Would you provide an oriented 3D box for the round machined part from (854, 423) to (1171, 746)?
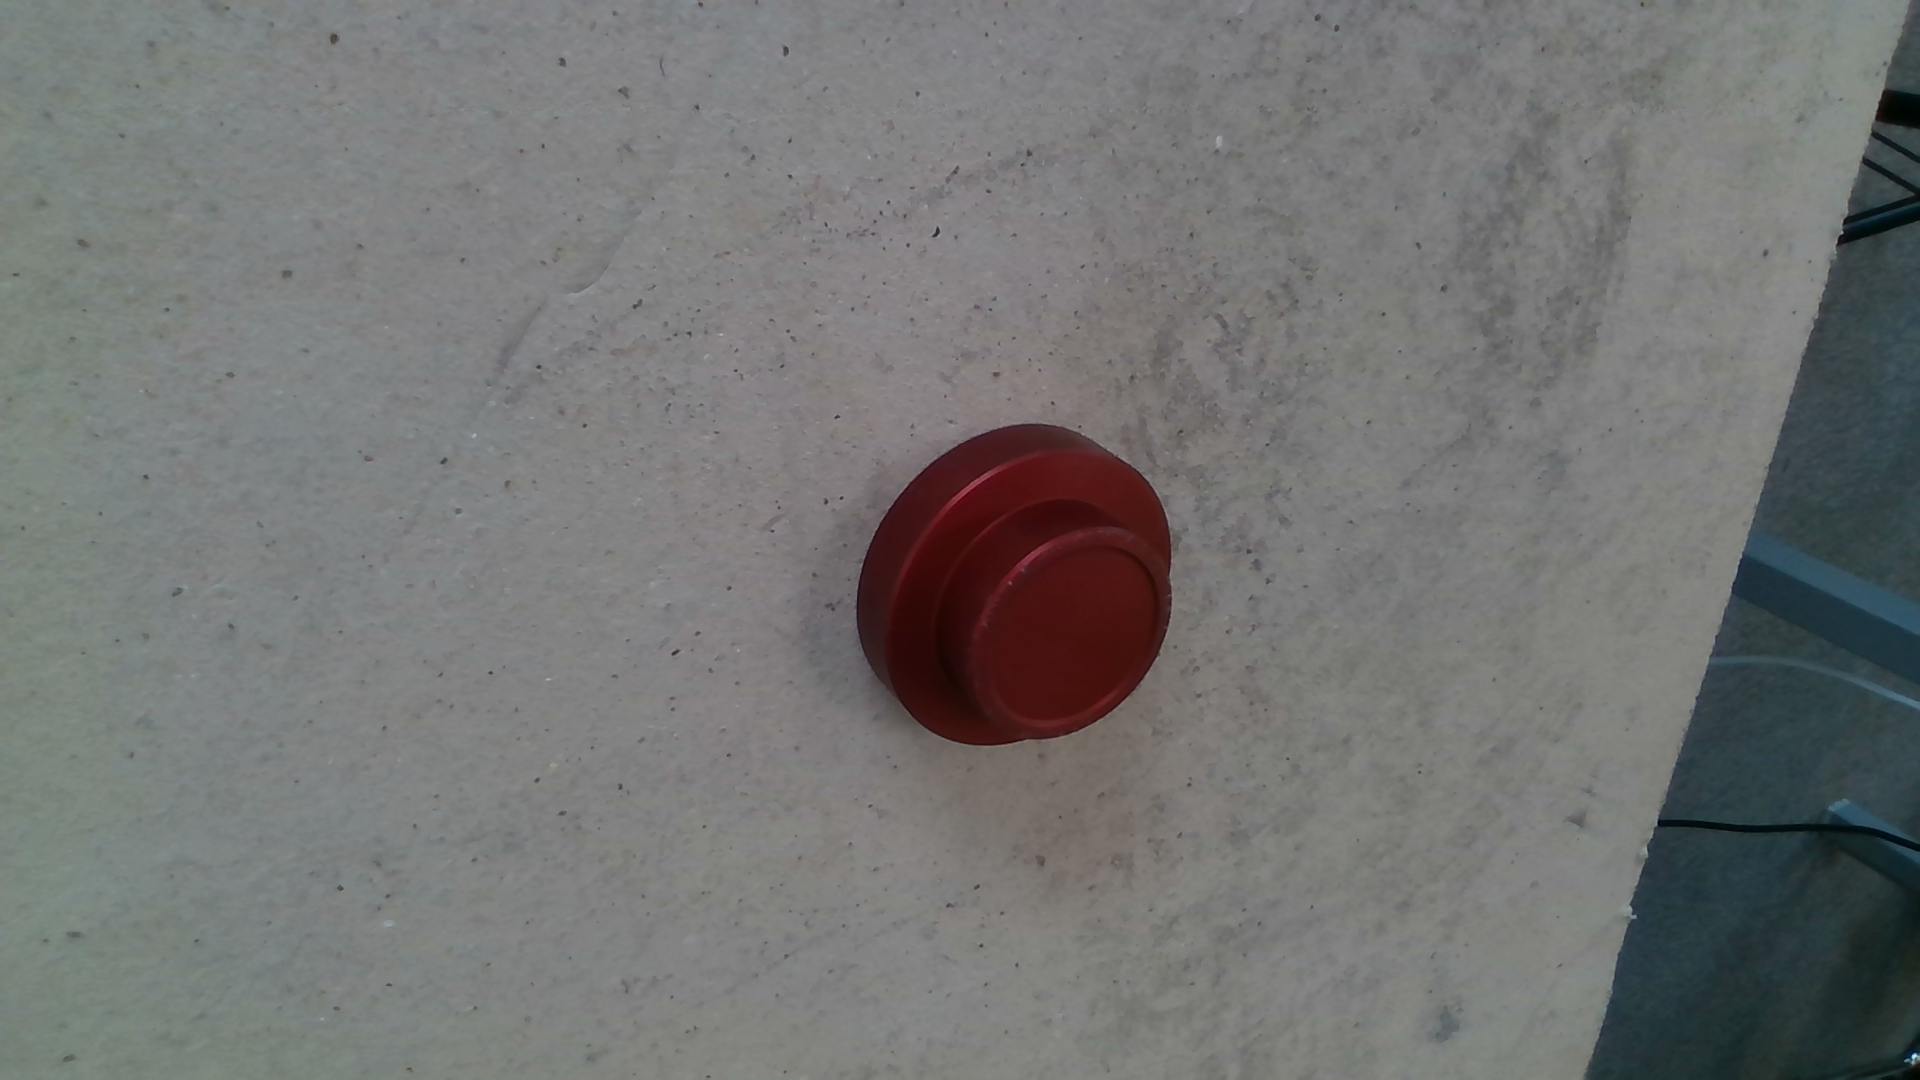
[{"bbox_3d":[0.022,0.019,0.402,0.098,0.042,0.098,-14,122,-25],"label":"round machined part"}]
